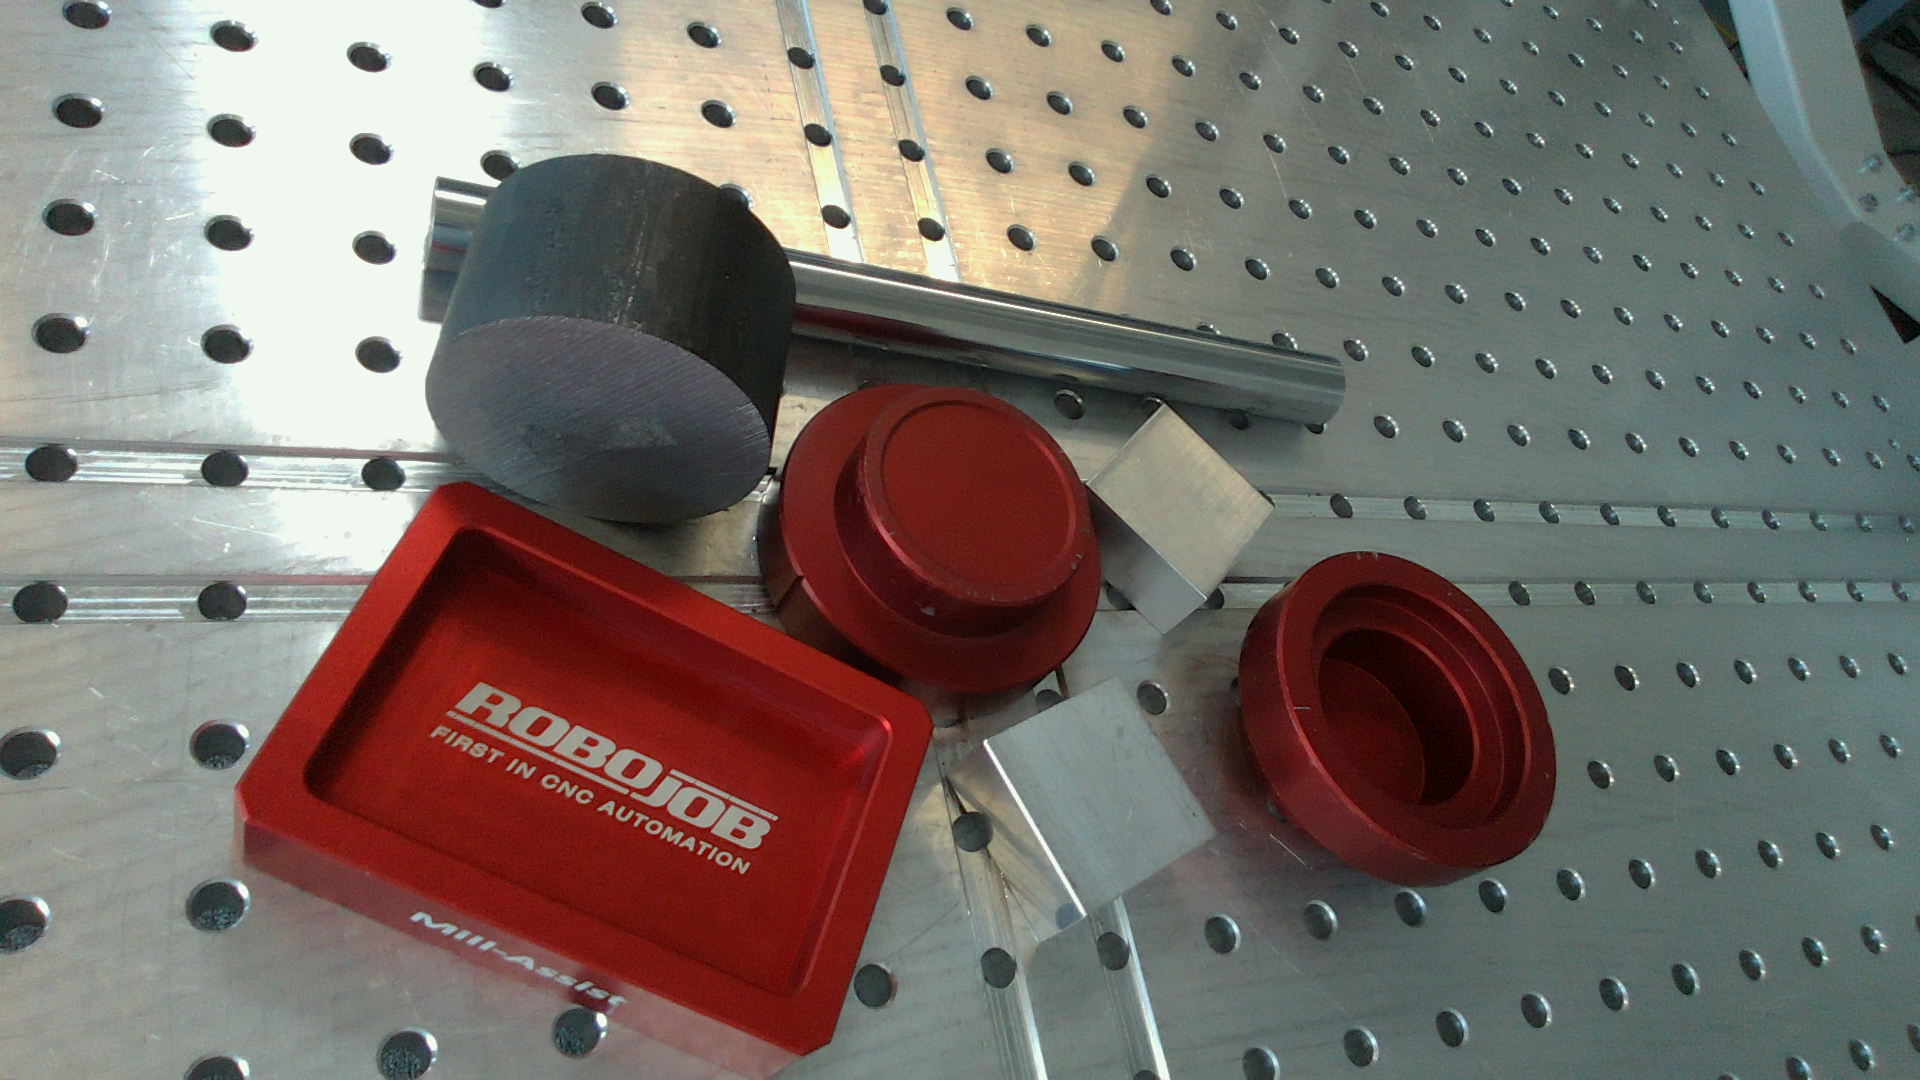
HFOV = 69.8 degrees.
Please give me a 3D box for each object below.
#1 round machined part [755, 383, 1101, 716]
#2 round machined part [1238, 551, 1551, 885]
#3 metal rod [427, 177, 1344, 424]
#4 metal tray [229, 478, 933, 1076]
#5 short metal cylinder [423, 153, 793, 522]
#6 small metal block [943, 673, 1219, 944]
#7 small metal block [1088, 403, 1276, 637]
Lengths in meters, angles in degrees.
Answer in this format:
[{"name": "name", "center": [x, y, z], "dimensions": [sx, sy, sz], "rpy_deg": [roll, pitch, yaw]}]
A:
[{"name": "round machined part", "center": [-0.004, -0.004, 0.382], "dimensions": [0.098, 0.042, 0.098], "rpy_deg": [14, 53, -19]}, {"name": "round machined part", "center": [0.125, 0.056, 0.415], "dimensions": [0.098, 0.042, 0.098], "rpy_deg": [14, 56, -21]}, {"name": "metal rod", "center": [-0.006, -0.069, 0.431], "dimensions": [0.301, 0.025, 0.025], "rpy_deg": [6, 59, -25]}, {"name": "metal tray", "center": [-0.080, 0.053, 0.313], "dimensions": [0.130, 0.030, 0.090], "rpy_deg": [27, 53, -11]}, {"name": "short metal cylinder", "center": [-0.085, -0.048, 0.341], "dimensions": [0.080, 0.080, 0.050], "rpy_deg": [16, 55, -19]}, {"name": "small metal block", "center": [0.032, 0.071, 0.367], "dimensions": [0.050, 0.025, 0.050], "rpy_deg": [-21, 73, -36]}, {"name": "small metal block", "center": [0.063, -0.007, 0.431], "dimensions": [0.050, 0.025, 0.050], "rpy_deg": [44, 51, 2]}]
